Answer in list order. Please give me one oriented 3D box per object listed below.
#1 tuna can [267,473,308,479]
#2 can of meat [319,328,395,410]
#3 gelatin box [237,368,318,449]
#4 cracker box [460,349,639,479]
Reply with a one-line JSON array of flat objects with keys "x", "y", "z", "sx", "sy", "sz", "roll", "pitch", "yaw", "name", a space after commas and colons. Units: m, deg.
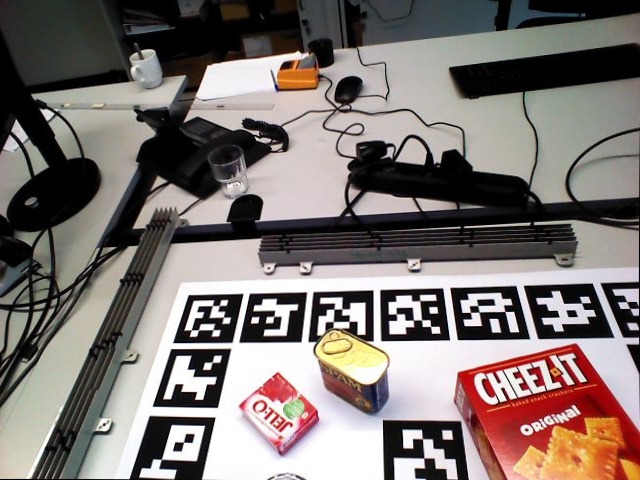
[{"x": -0.038, "y": 0.322, "z": 0.606, "sx": 0.086, "sy": 0.034, "sz": 0.085, "roll": -7, "pitch": 44, "yaw": 7, "name": "tuna can"}, {"x": 0.054, "y": 0.181, "z": 0.722, "sx": 0.102, "sy": 0.084, "sz": 0.057, "roll": 19, "pitch": 49, "yaw": 32, "name": "can of meat"}, {"x": -0.058, "y": 0.232, "z": 0.720, "sx": 0.073, "sy": 0.030, "sz": 0.089, "roll": -34, "pitch": 49, "yaw": -28, "name": "gelatin box"}, {"x": 0.285, "y": 0.243, "z": 0.607, "sx": 0.164, "sy": 0.072, "sz": 0.213, "roll": -13, "pitch": 39, "yaw": -4, "name": "cracker box"}]
